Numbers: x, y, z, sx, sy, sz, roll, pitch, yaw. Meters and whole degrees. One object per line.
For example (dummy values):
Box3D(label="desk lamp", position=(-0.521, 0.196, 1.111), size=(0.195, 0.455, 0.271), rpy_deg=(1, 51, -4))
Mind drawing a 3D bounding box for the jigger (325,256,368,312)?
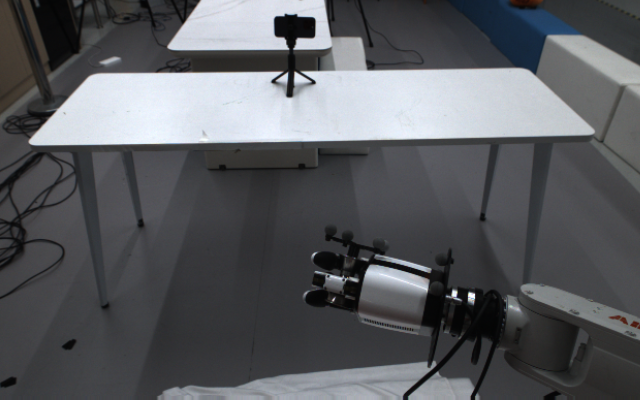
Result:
Box3D(label="jigger", position=(0.039, 0.112, 0.672), size=(0.043, 0.071, 0.043), rpy_deg=(16, -7, 2))
